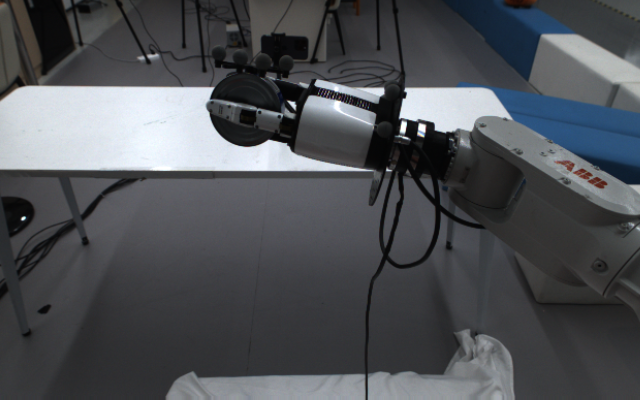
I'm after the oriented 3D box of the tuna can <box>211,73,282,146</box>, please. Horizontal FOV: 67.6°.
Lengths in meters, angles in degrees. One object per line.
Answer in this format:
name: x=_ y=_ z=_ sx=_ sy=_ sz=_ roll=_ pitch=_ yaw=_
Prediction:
tuna can: x=-0.085 y=-0.109 z=0.578 sx=0.085 sy=0.085 sz=0.034 roll=5 pitch=18 yaw=5
